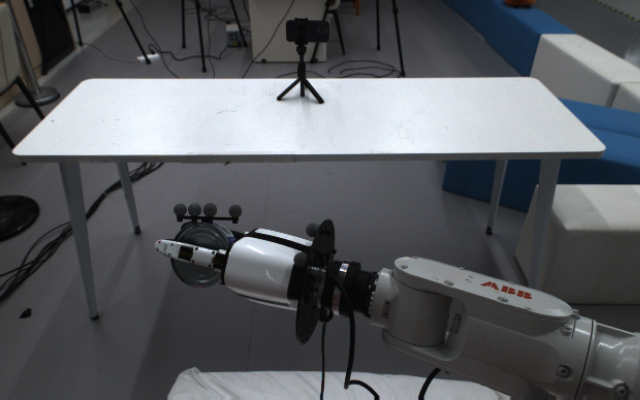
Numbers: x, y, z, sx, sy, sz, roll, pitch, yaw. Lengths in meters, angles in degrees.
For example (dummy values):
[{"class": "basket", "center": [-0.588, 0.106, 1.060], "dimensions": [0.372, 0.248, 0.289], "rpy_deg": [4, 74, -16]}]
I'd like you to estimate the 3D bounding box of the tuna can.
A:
[{"class": "tuna can", "center": [-0.150, 0.073, 0.643], "dimensions": [0.085, 0.085, 0.034], "rpy_deg": [11, -1, 13]}]
